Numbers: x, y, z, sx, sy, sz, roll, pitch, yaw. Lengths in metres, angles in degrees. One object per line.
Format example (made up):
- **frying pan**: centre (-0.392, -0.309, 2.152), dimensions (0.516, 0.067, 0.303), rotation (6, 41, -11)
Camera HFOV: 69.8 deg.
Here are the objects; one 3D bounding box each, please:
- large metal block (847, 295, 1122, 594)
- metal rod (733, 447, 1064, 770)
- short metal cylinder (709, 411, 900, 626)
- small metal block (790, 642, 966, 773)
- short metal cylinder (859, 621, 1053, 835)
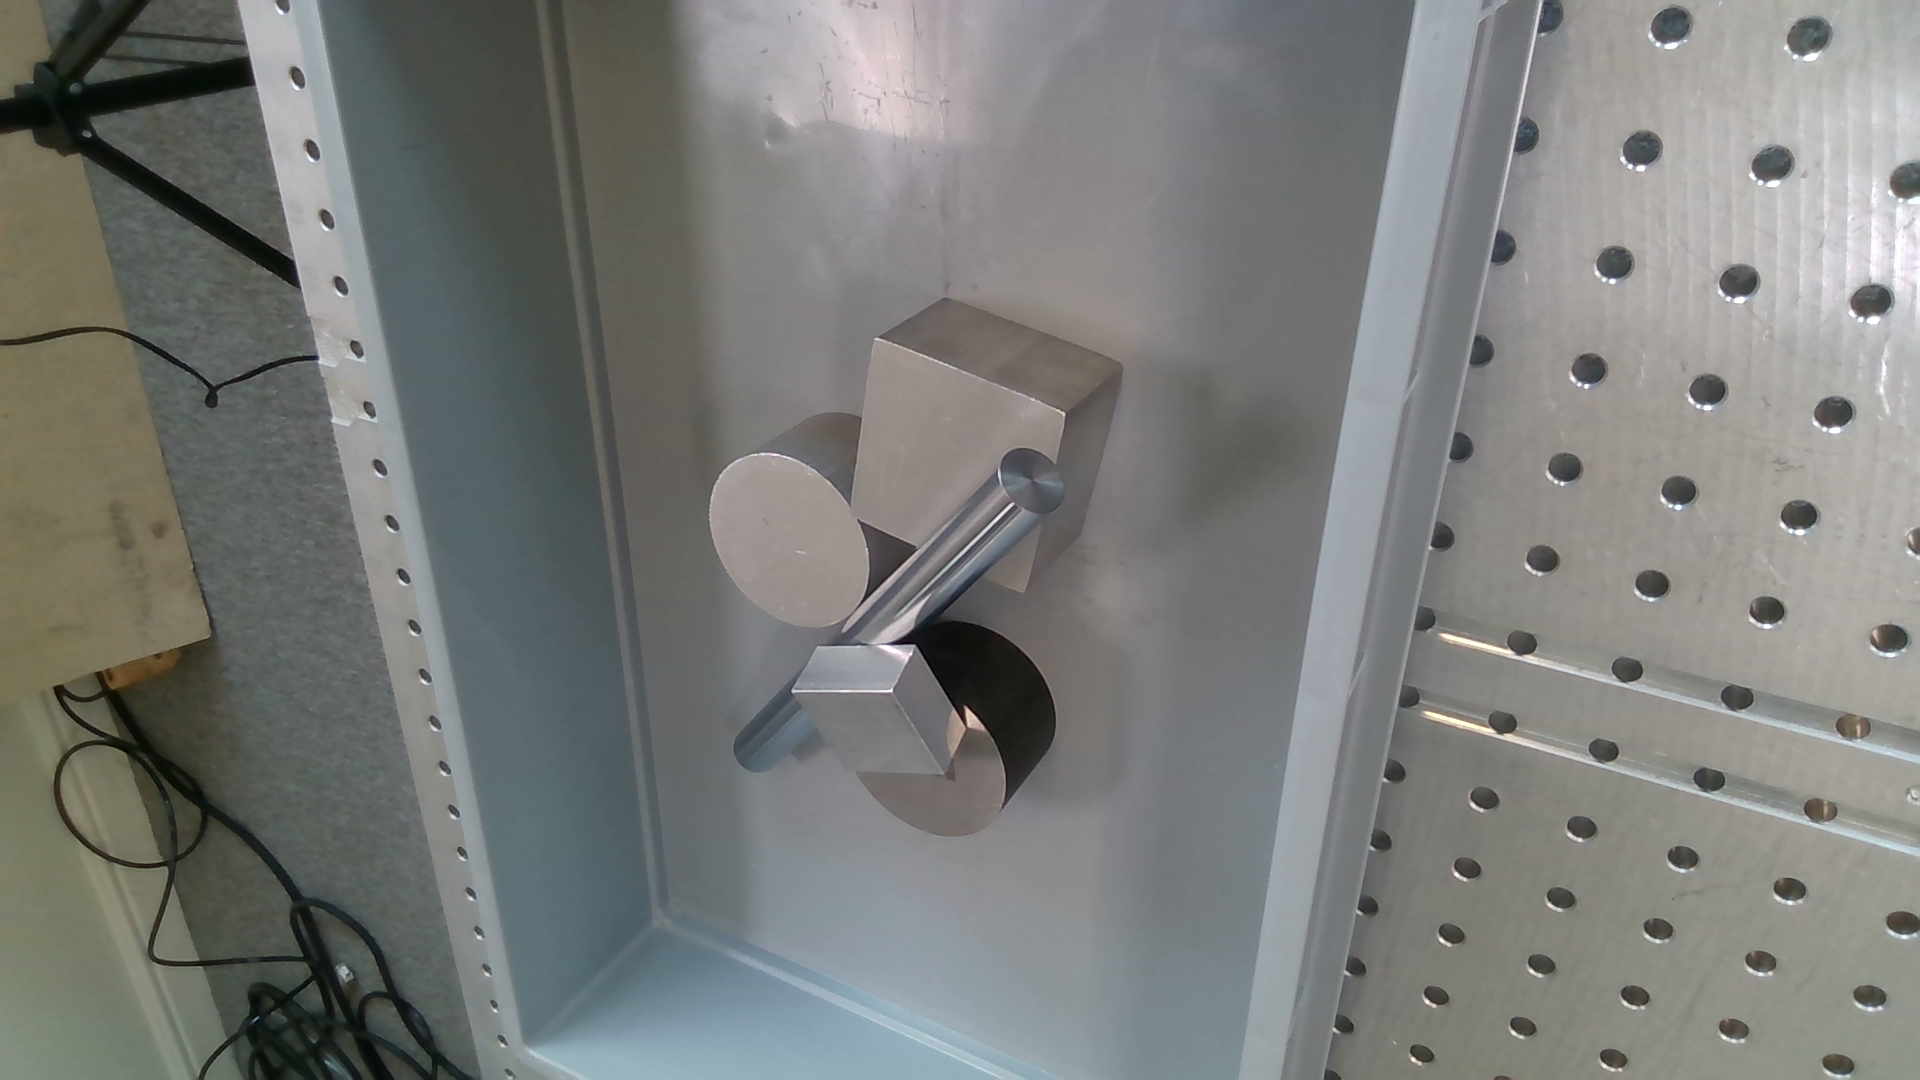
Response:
- **large metal block**: centre (0.008, -0.038, 0.534), dimensions (0.080, 0.050, 0.080), rotation (24, 125, 19)
- **metal rod**: centre (-0.040, 0.043, 0.581), dimensions (0.025, 0.025, 0.301), rotation (47, 144, 1)
- **short metal cylinder**: centre (-0.061, -0.010, 0.594), dimensions (0.080, 0.050, 0.080), rotation (14, 122, 25)
- **small metal block**: centre (-0.033, 0.069, 0.563), dimensions (0.050, 0.025, 0.050), rotation (-4, 130, 33)
- **short metal cylinder**: centre (-0.005, 0.083, 0.611), dimensions (0.080, 0.050, 0.080), rotation (14, 122, 25)
